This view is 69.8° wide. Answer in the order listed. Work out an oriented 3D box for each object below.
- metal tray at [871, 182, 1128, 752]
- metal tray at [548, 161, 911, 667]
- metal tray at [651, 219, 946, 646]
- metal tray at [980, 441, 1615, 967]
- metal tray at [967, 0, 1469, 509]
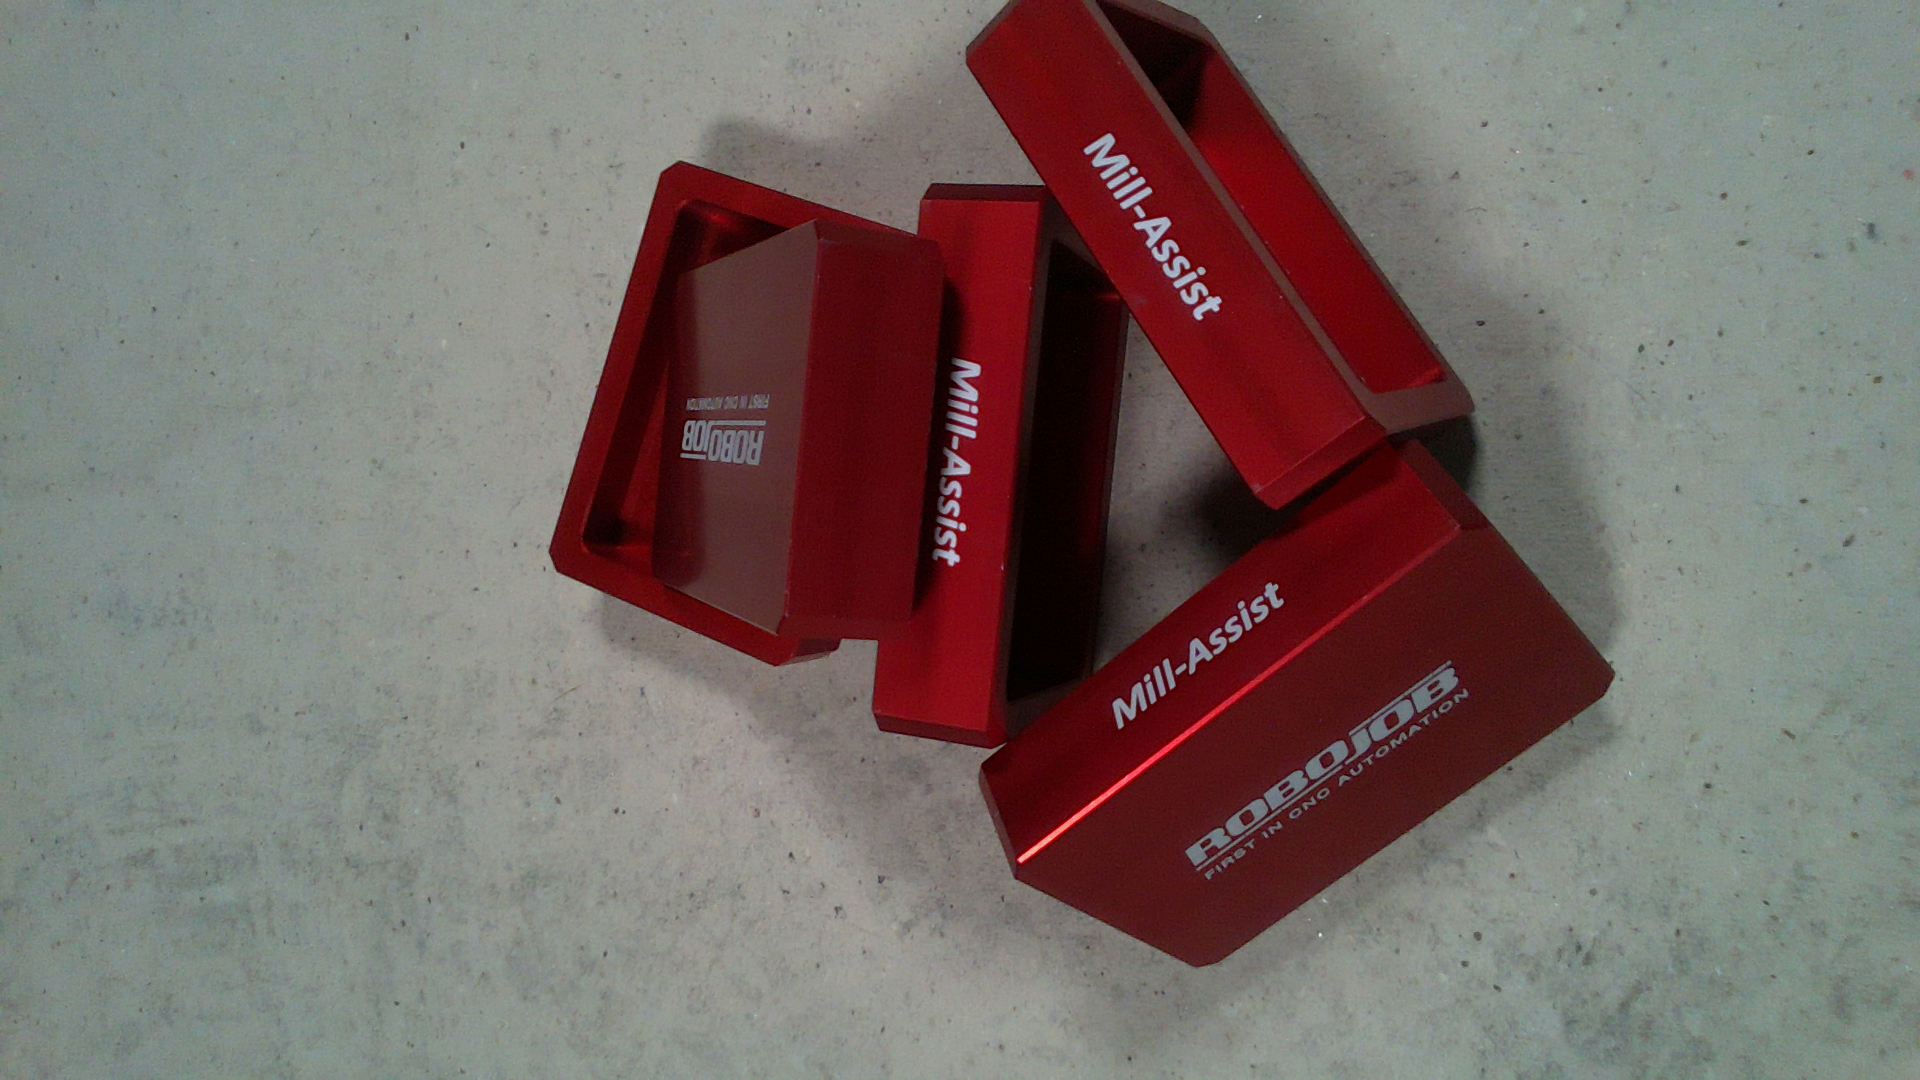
[{"bbox_3d":[0.014,-0.018,0.357,0.030,0.090,0.130,7,93,20],"label":"metal tray"},{"bbox_3d":[-0.063,-0.038,0.416,0.090,0.030,0.130,21,97,19],"label":"metal tray"},{"bbox_3d":[-0.048,-0.027,0.353,0.130,0.030,0.090,-169,85,-64],"label":"metal tray"},{"bbox_3d":[0.081,0.046,0.332,0.130,0.090,0.030,-41,42,16],"label":"metal tray"},{"bbox_3d":[0.066,-0.074,0.335,0.030,0.090,0.130,-38,77,31],"label":"metal tray"}]
